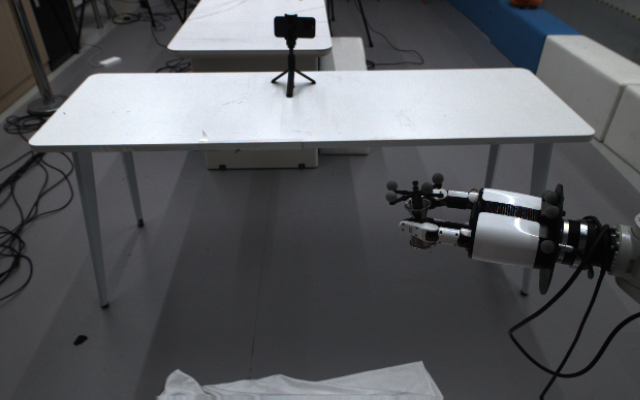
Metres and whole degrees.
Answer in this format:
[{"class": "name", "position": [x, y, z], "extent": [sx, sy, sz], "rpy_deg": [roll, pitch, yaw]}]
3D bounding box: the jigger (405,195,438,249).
[{"class": "jigger", "position": [0.155, 0.035, 0.748], "extent": [0.043, 0.071, 0.043], "rpy_deg": [-11, 24, 5]}]
